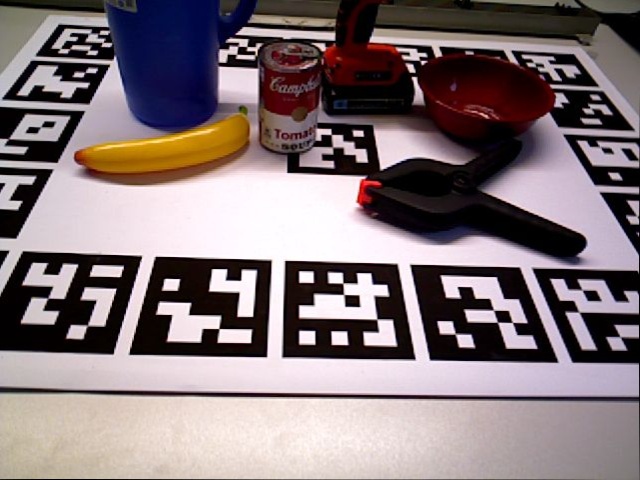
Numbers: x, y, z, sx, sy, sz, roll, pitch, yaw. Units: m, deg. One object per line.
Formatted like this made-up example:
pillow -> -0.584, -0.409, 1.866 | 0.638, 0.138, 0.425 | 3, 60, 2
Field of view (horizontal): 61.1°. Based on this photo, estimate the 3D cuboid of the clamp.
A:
clamp -> 0.137, -0.053, 0.520 | 0.201, 0.037, 0.163 | -1, 50, -6

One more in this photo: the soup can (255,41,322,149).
soup can -> -0.034, -0.157, 0.573 | 0.067, 0.104, 0.067 | 2, 37, -2

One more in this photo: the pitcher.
pitcher -> -0.152, -0.254, 0.556 | 0.185, 0.248, 0.132 | -17, 46, -21

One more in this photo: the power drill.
power drill -> 0.082, -0.268, 0.603 | 0.183, 0.191, 0.056 | -2, 46, -8

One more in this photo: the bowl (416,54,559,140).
bowl -> 0.187, -0.165, 0.631 | 0.161, 0.056, 0.159 | 2, 47, -3

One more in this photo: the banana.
banana -> -0.157, -0.100, 0.554 | 0.194, 0.040, 0.074 | -17, 41, -23
